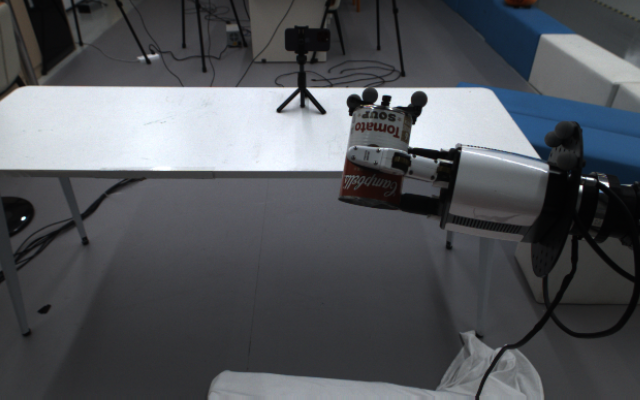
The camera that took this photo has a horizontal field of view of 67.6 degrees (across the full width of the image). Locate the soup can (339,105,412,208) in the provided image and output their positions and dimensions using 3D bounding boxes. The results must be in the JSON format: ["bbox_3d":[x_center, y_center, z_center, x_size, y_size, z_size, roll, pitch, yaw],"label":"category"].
[{"bbox_3d":[0.063,-0.046,0.530,0.067,0.101,0.067,9,-5,1],"label":"soup can"}]
